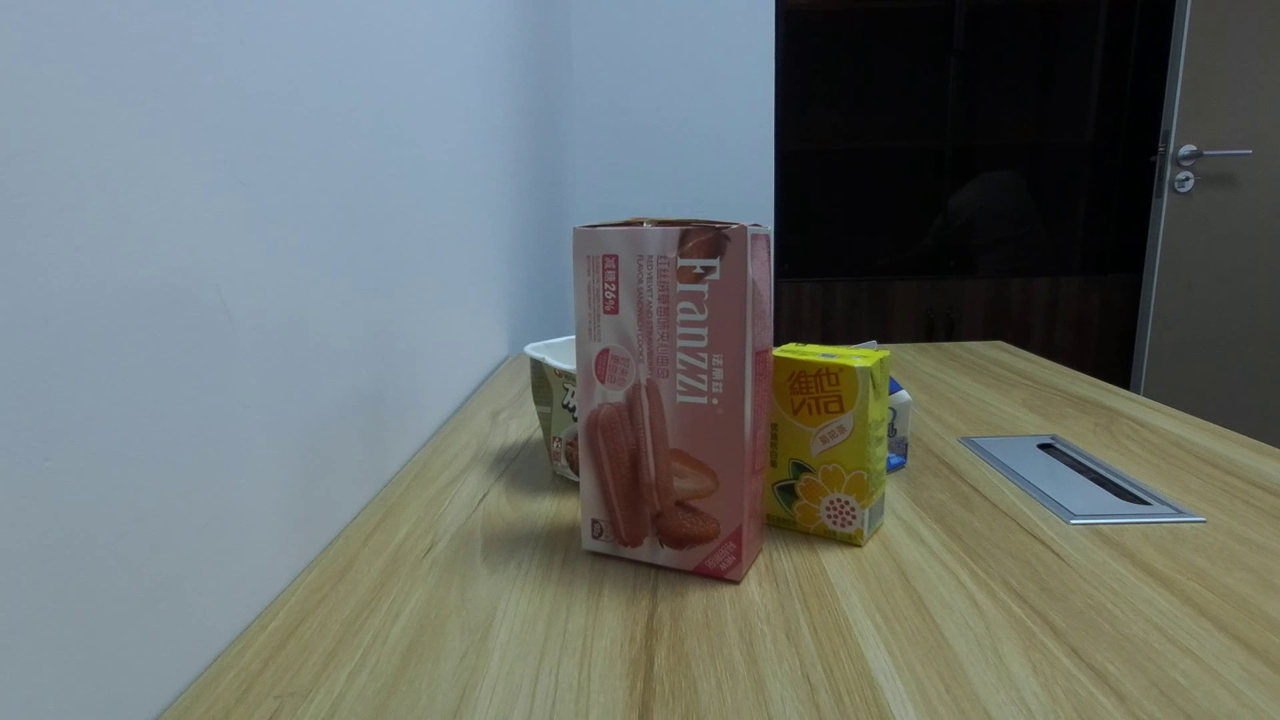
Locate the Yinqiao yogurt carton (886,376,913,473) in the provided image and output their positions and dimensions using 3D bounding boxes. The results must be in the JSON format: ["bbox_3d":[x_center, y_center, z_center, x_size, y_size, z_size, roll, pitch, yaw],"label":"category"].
[{"bbox_3d":[0.148,0.035,0.517,0.078,0.094,0.070,-12,21,-36],"label":"Yinqiao yogurt carton"}]

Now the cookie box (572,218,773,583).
[{"bbox_3d":[0.022,0.018,0.384,0.105,0.187,0.049,4,13,25],"label":"cookie box"}]

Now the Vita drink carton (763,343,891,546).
[{"bbox_3d":[0.109,0.048,0.422,0.066,0.109,0.044,6,15,32],"label":"Vita drink carton"}]
